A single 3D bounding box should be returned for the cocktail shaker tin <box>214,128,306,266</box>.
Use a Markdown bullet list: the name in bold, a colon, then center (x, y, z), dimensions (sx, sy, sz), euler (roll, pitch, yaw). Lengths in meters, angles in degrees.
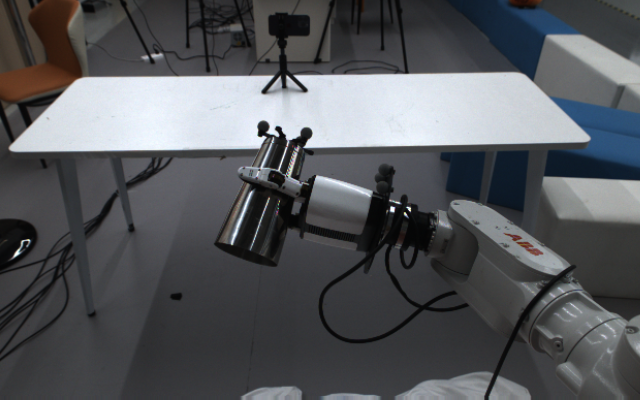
- **cocktail shaker tin**: center (-0.079, -0.002, 0.688), dimensions (0.093, 0.093, 0.170), euler (13, 70, 15)
